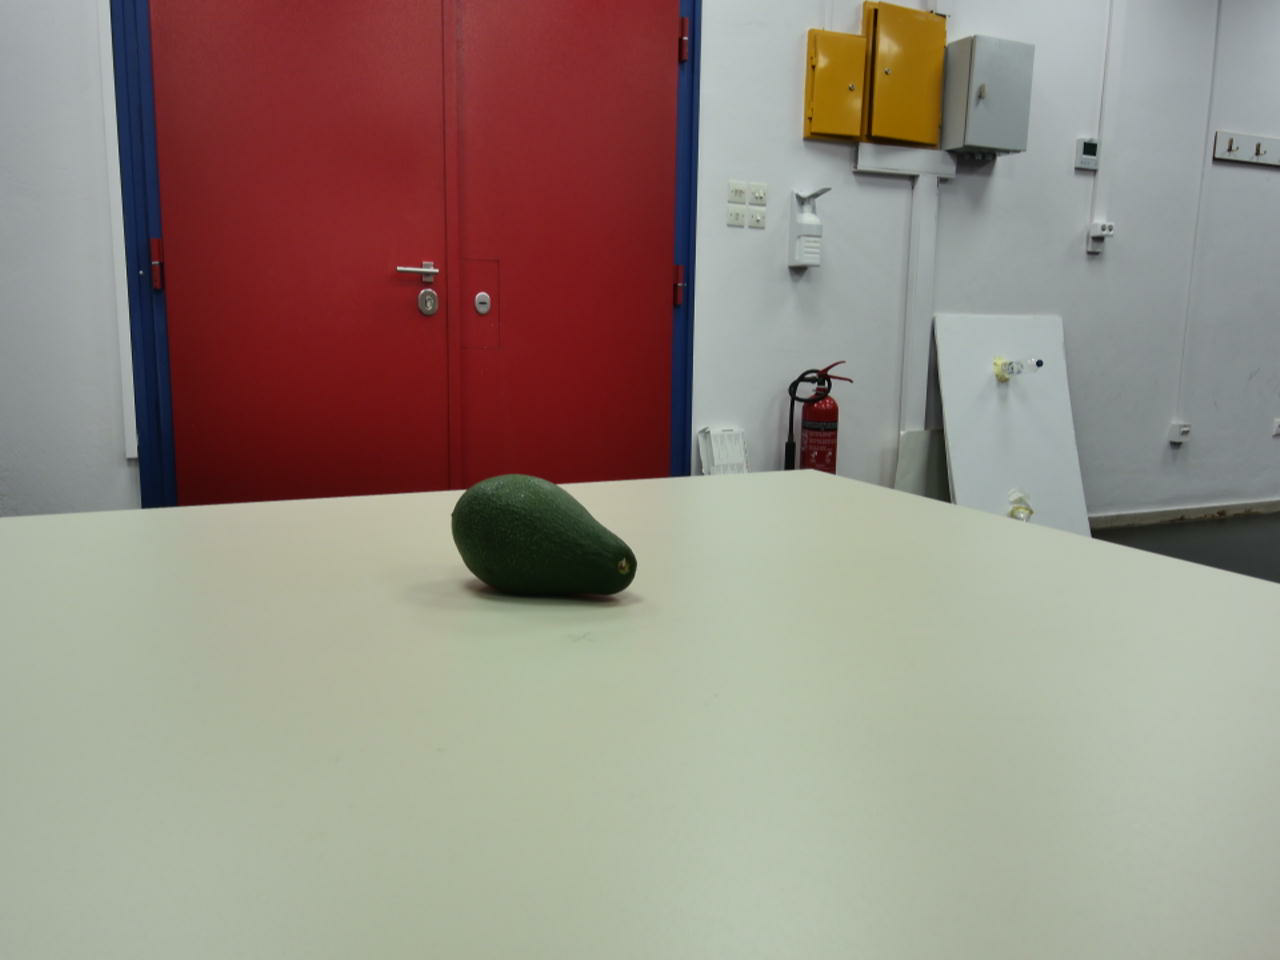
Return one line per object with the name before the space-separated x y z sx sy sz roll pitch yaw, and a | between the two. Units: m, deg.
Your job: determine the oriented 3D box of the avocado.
avocado | -0.060 0.033 0.587 0.110 0.071 0.072 7 10 42
